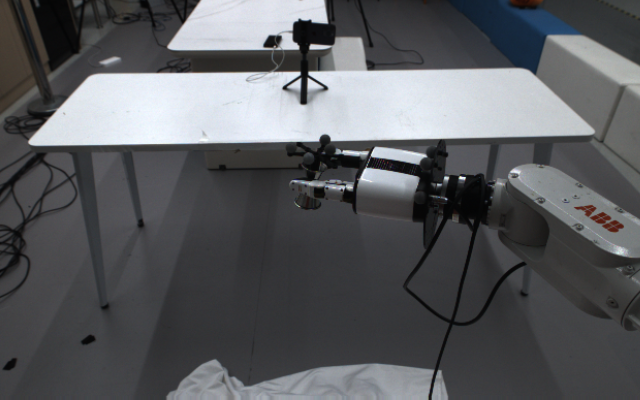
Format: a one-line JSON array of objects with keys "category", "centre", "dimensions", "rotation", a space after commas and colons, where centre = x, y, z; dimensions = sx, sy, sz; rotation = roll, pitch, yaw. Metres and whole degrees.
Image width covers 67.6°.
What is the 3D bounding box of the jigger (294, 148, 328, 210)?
[{"category": "jigger", "centre": [-0.015, -0.025, 0.752], "dimensions": [0.043, 0.071, 0.043], "rotation": [9, 30, -5]}]
